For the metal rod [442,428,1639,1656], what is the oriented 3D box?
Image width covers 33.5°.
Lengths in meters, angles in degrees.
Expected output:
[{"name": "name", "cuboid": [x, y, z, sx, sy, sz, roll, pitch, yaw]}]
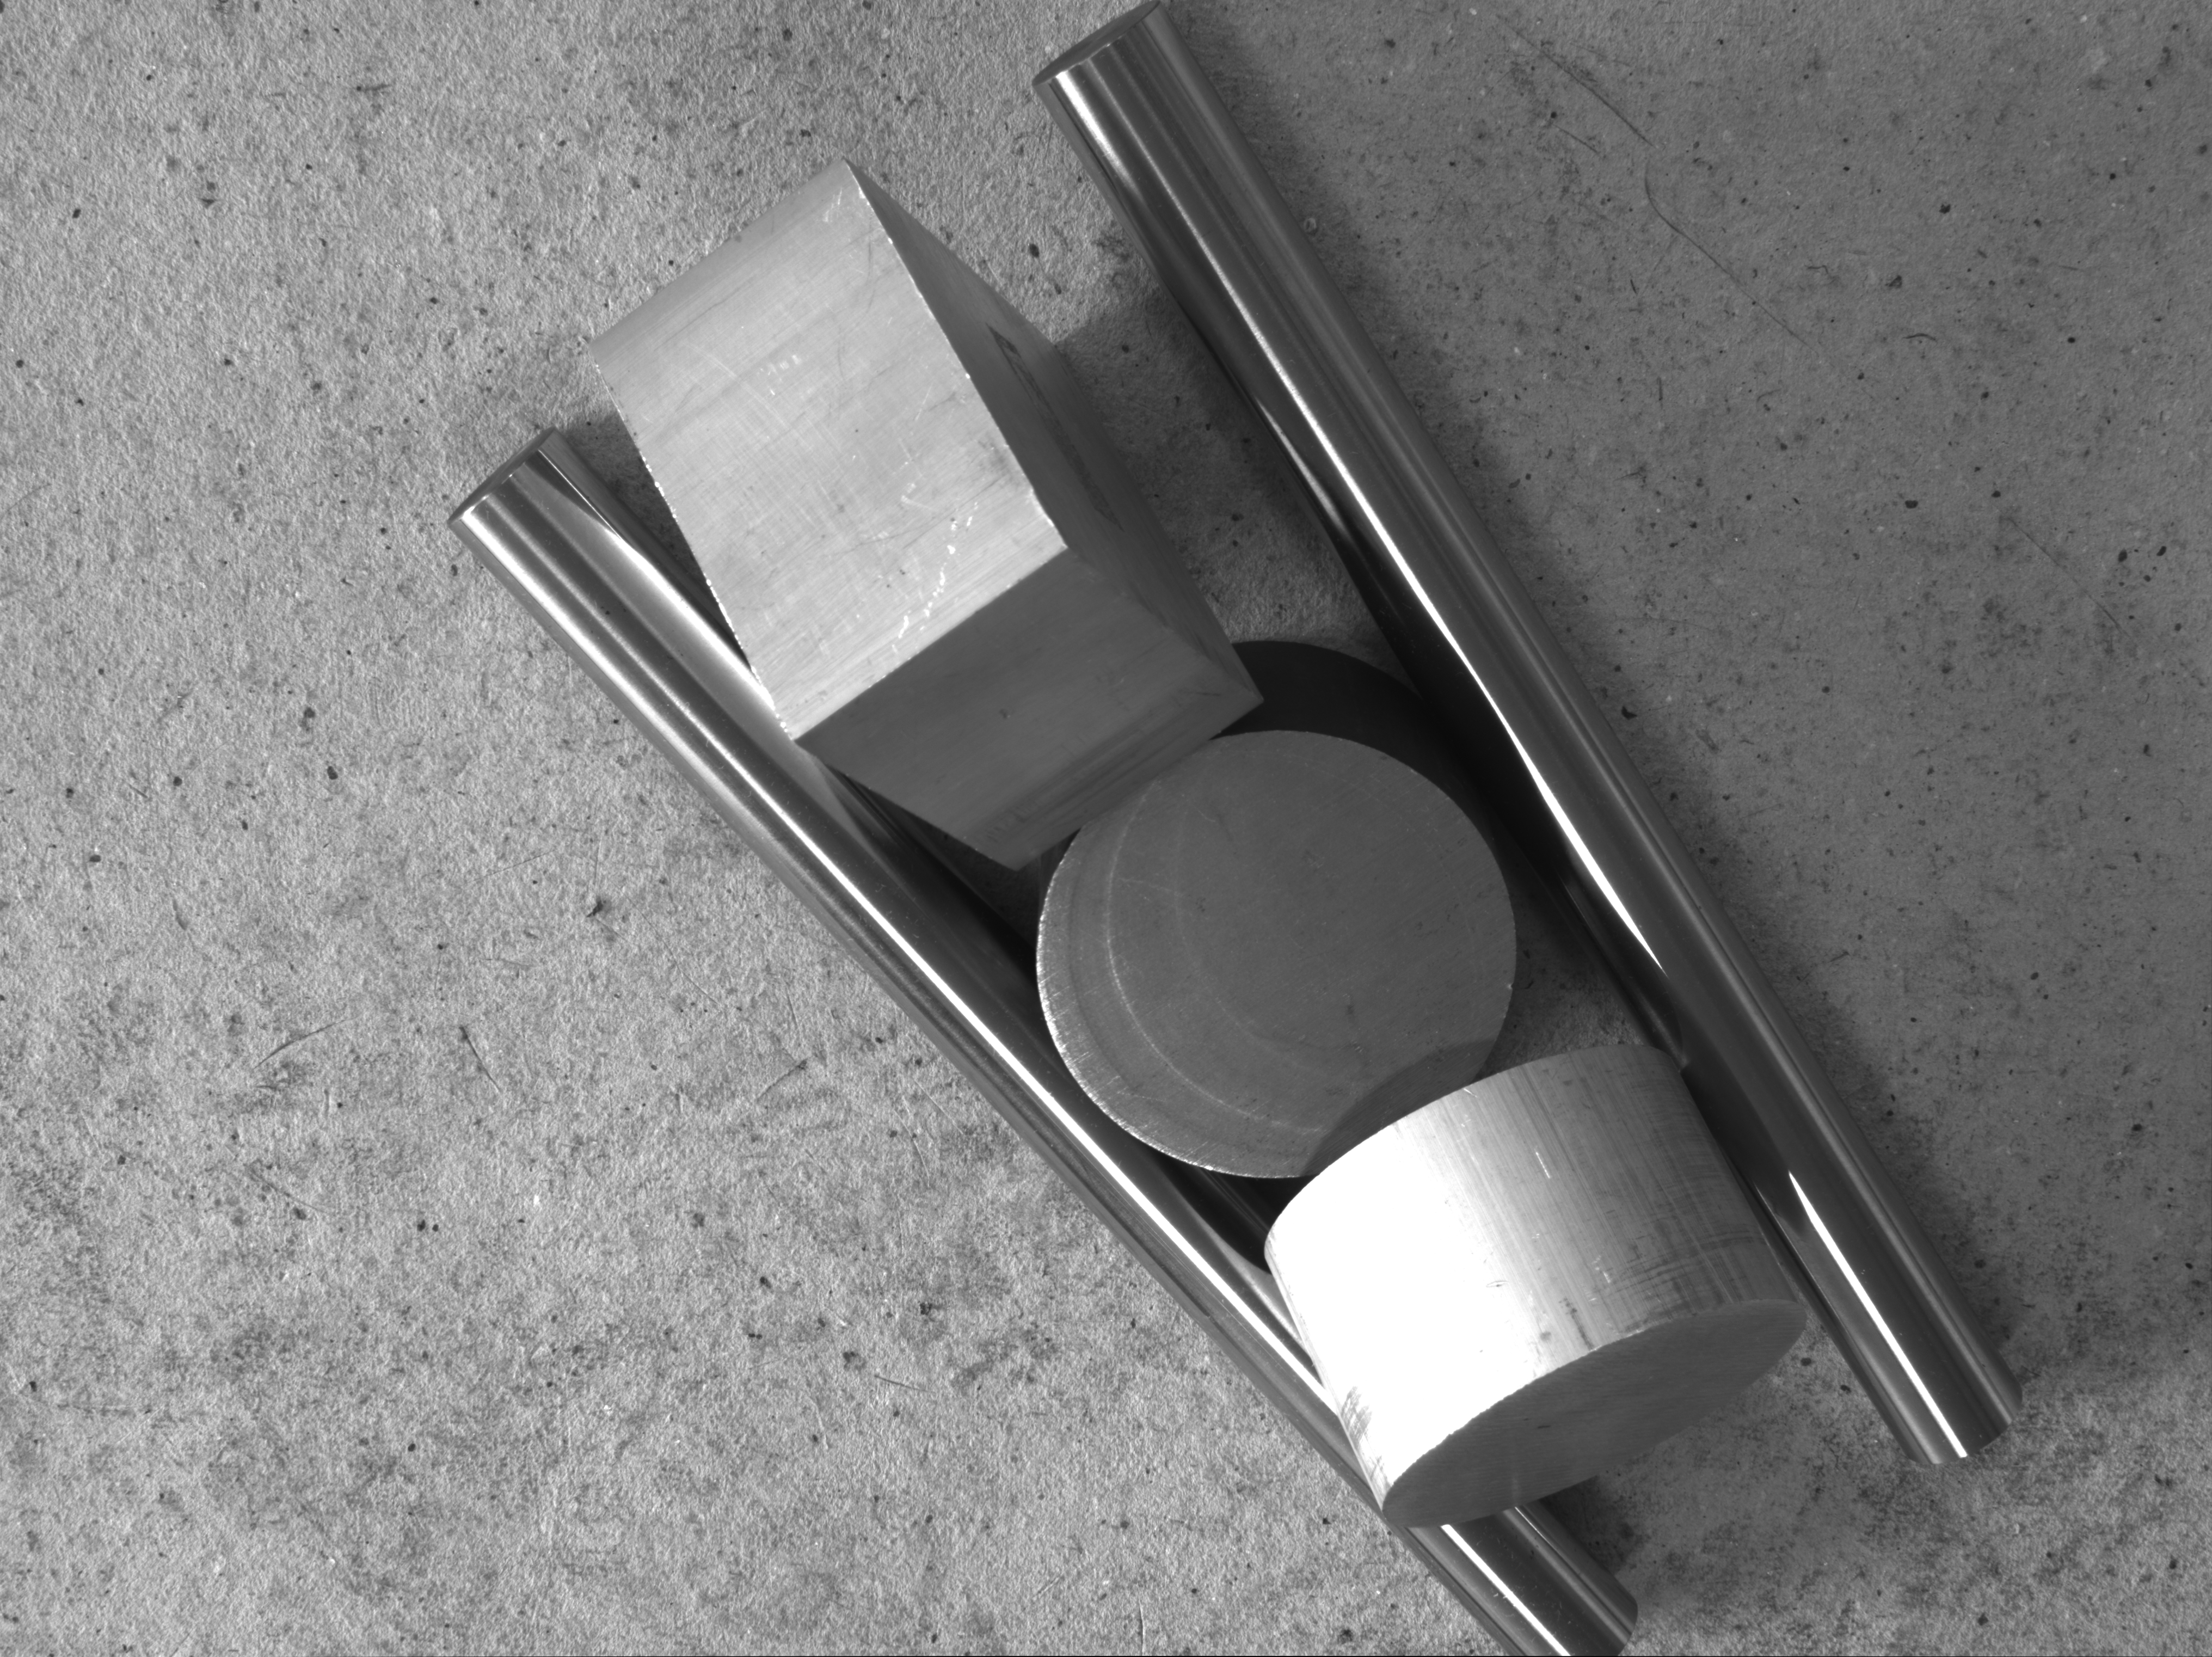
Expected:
[{"name": "metal rod", "cuboid": [-0.006, 0.048, 0.661, 0.025, 0.025, 0.300, -39, 106, 13]}]

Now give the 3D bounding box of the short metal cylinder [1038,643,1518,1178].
[{"name": "short metal cylinder", "cuboid": [0.029, 0.013, 0.636, 0.080, 0.050, 0.080, 0, 110, 0]}]

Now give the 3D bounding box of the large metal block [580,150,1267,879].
[{"name": "large metal block", "cuboid": [-0.028, -0.047, 0.581, 0.050, 0.080, 0.080, -35, 65, 12]}]

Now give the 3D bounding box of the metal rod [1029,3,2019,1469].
[{"name": "metal rod", "cuboid": [0.078, -0.008, 0.641, 0.025, 0.025, 0.300, -31, 107, 11]}]

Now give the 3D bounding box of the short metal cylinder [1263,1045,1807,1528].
[{"name": "short metal cylinder", "cuboid": [0.074, 0.080, 0.638, 0.080, 0.080, 0.050, -30, 65, 10]}]
